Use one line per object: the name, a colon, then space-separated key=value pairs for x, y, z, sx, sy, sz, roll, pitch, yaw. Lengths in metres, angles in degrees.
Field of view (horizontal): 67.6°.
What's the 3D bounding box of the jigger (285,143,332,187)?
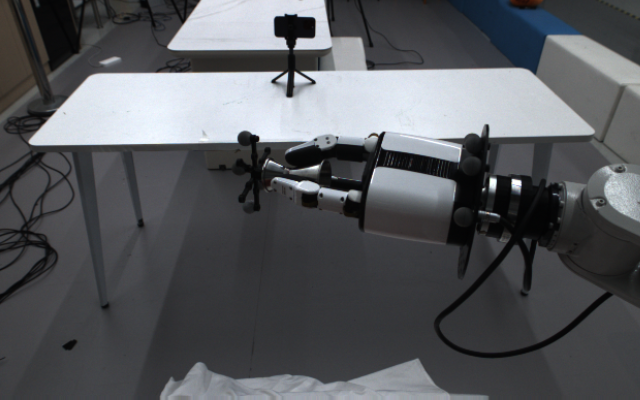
jigger: x=-0.019 y=-0.029 z=0.541 sx=0.071 sy=0.043 sz=0.043 roll=5 pitch=34 yaw=18
